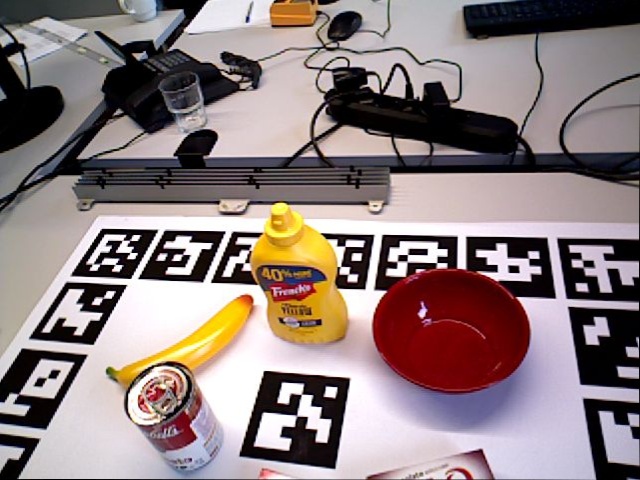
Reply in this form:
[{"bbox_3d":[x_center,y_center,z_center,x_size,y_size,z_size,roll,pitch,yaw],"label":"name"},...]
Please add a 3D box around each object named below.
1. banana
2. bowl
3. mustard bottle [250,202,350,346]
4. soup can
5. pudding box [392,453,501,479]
[{"bbox_3d":[-0.162,0.120,0.648,0.194,0.039,0.074,-32,36,-19],"label":"banana"},{"bbox_3d":[0.149,0.108,0.578,0.161,0.056,0.159,-8,42,6],"label":"bowl"},{"bbox_3d":[-0.023,0.031,0.577,0.096,0.195,0.057,3,42,14],"label":"mustard bottle"},{"bbox_3d":[-0.148,0.168,0.533,0.068,0.104,0.067,-5,42,4],"label":"soup can"},{"bbox_3d":[0.108,0.241,0.456,0.113,0.039,0.089,-15,49,-3],"label":"pudding box"}]
